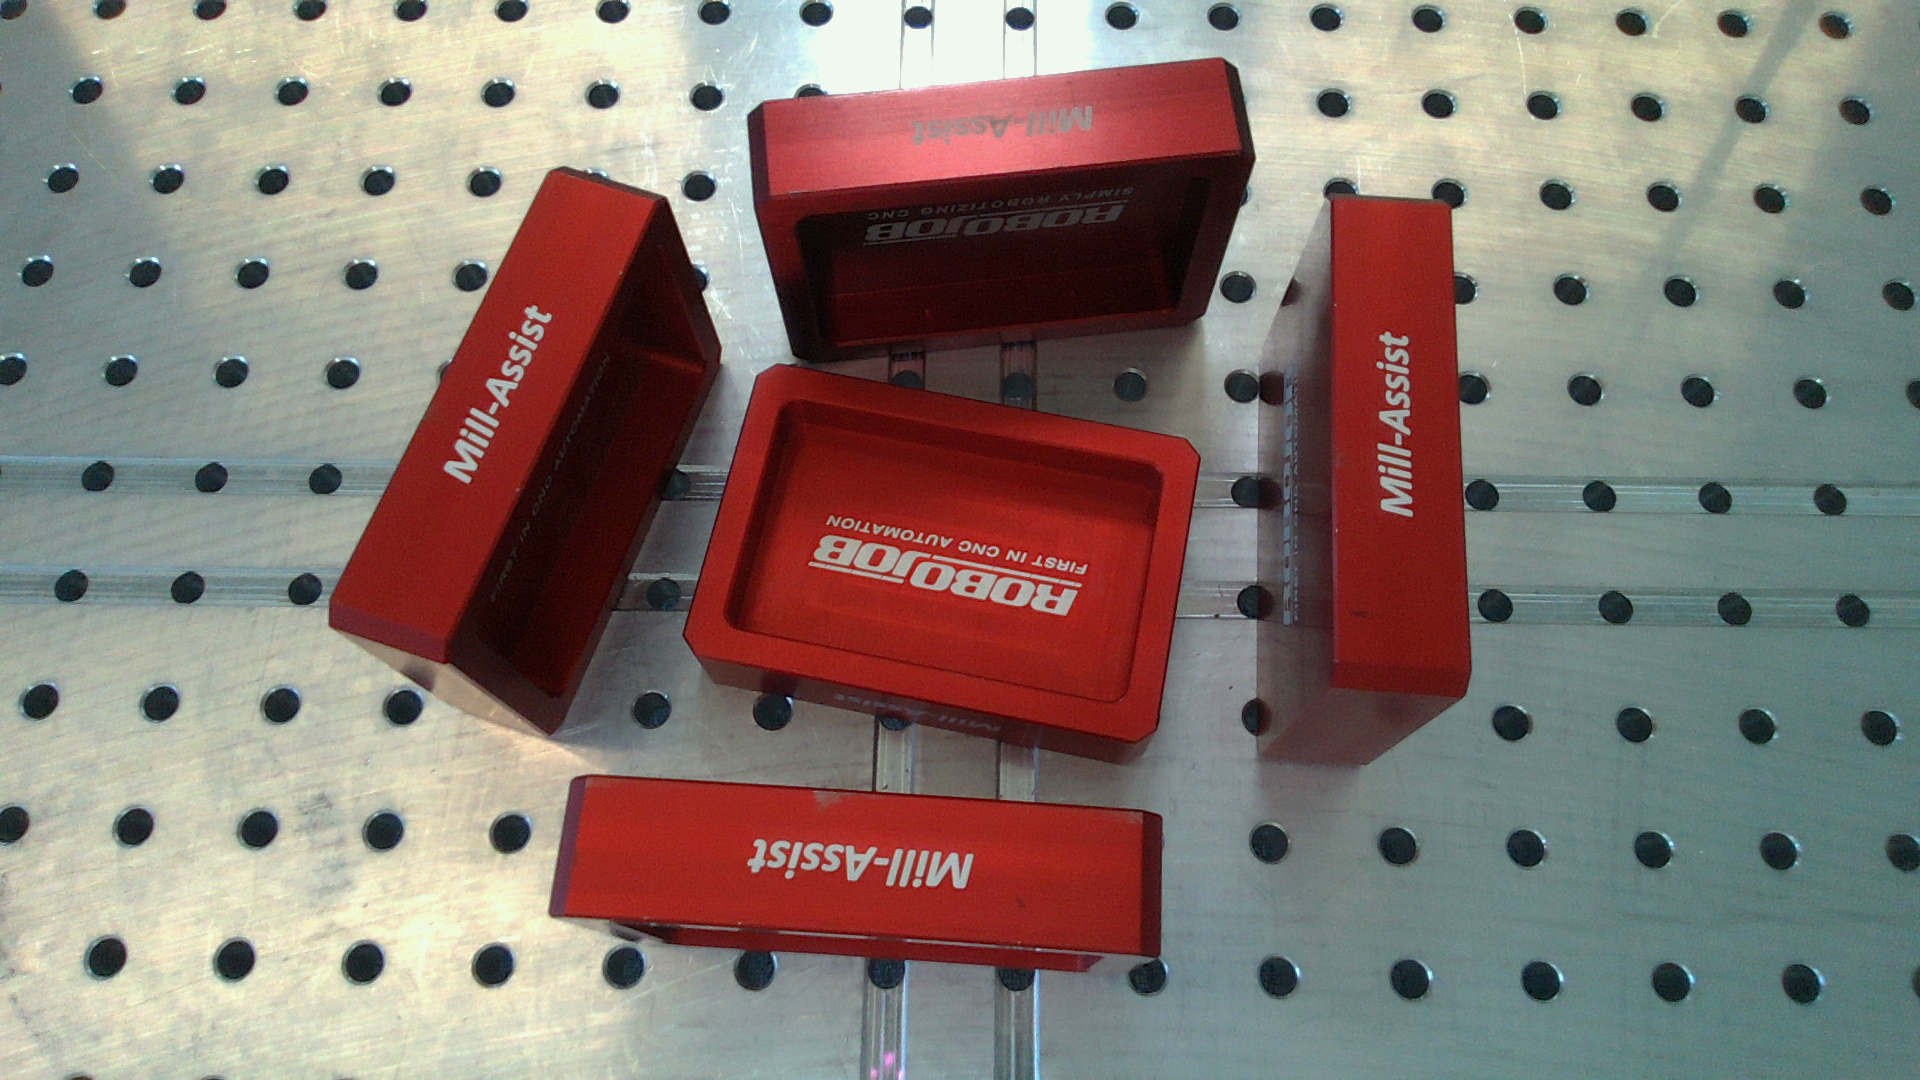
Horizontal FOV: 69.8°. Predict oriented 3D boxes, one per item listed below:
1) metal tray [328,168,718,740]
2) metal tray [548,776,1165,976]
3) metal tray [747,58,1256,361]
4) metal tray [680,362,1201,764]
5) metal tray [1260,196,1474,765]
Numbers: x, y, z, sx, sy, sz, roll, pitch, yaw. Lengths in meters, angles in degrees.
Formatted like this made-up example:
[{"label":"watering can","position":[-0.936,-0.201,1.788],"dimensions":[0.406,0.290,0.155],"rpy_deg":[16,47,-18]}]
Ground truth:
[{"label":"metal tray","position":[-0.109,-0.020,0.369],"dimensions":[0.030,0.090,0.130],"rpy_deg":[17,71,7]},{"label":"metal tray","position":[-0.021,0.084,0.332],"dimensions":[0.130,0.090,0.030],"rpy_deg":[3,70,2]},{"label":"metal tray","position":[0.011,-0.091,0.395],"dimensions":[0.130,0.090,0.030],"rpy_deg":[-6,70,-2]},{"label":"metal tray","position":[-0.004,0.006,0.391],"dimensions":[0.130,0.030,0.090],"rpy_deg":[11,70,3]},{"label":"metal tray","position":[0.104,-0.013,0.367],"dimensions":[0.030,0.090,0.130],"rpy_deg":[4,70,2]}]
